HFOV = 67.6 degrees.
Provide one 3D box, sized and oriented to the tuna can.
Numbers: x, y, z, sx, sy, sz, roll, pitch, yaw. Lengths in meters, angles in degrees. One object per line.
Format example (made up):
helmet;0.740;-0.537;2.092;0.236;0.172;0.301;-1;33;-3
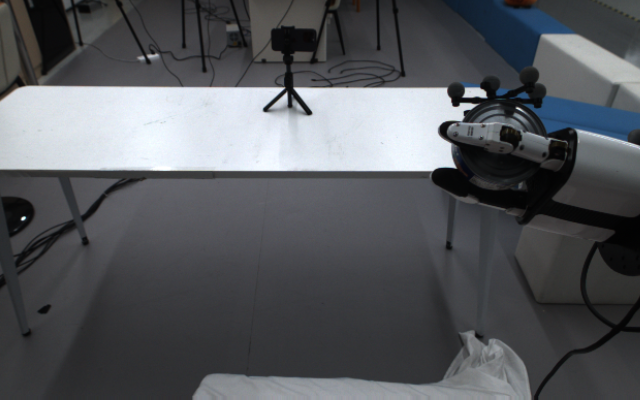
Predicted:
tuna can;0.177;-0.056;0.479;0.085;0.034;0.085;-1;74;4
